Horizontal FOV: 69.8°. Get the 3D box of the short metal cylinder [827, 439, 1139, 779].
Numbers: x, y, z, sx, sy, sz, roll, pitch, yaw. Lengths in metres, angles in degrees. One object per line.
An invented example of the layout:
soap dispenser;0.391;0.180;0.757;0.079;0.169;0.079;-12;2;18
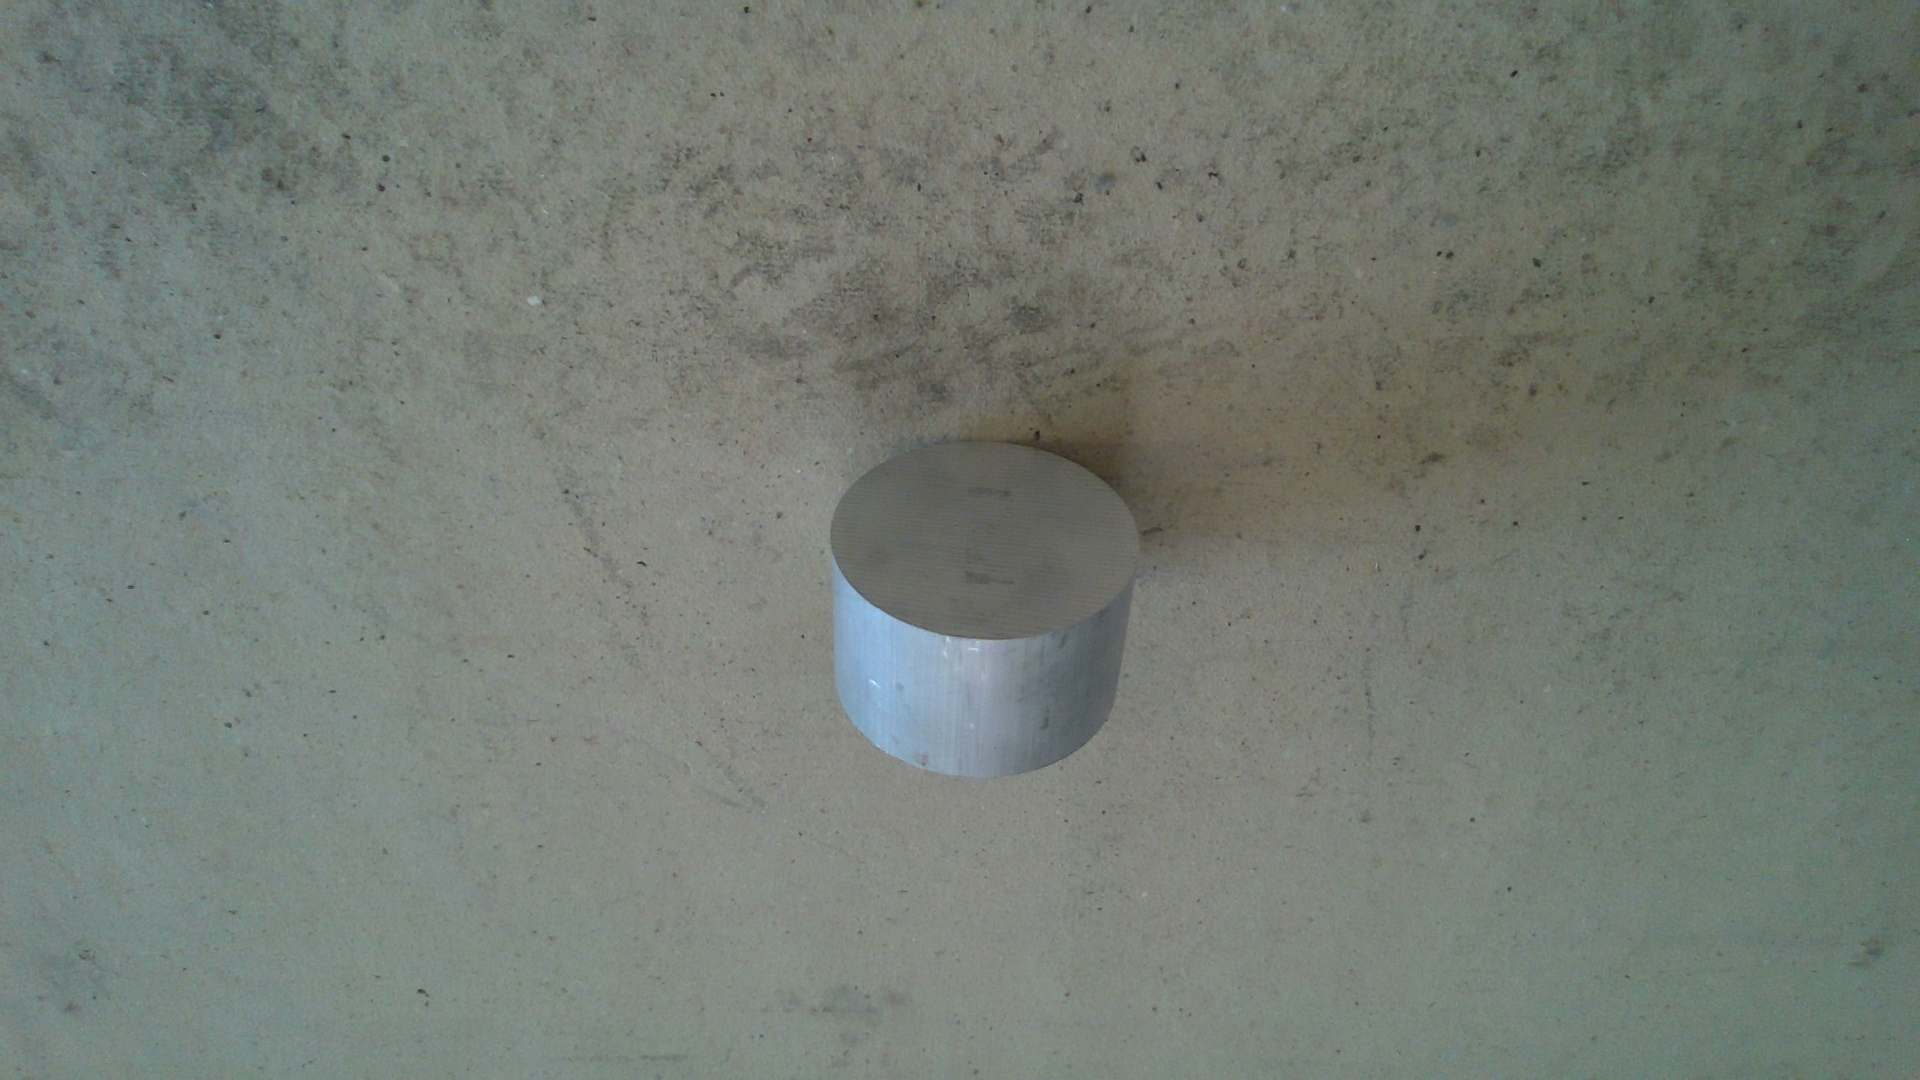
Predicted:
short metal cylinder;0.005;0.017;0.369;0.080;0.080;0.050;1;130;-1
